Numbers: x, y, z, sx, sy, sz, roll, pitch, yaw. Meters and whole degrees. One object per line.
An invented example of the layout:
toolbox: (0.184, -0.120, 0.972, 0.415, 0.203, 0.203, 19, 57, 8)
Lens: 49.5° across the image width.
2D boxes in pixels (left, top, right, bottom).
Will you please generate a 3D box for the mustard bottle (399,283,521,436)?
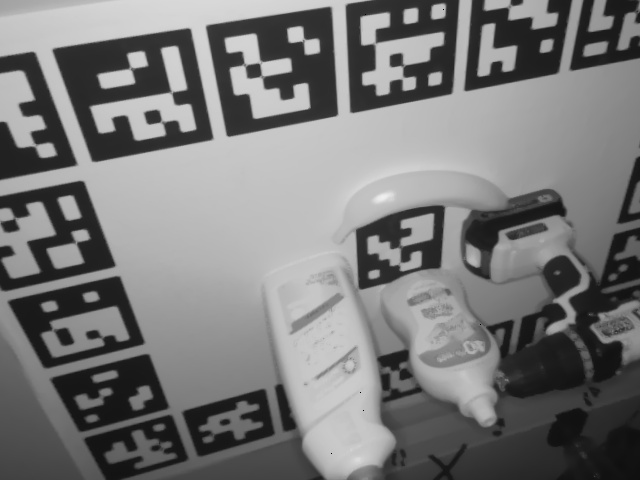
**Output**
mustard bottle: (0.155, 0.125, 0.726, 0.097, 0.192, 0.058, -10, 126, -8)

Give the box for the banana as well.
banana: (0.122, -0.031, 0.702, 0.199, 0.039, 0.073, -10, 121, -13)

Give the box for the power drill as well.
power drill: (0.254, 0.066, 0.694, 0.185, 0.187, 0.057, -13, 133, -6)

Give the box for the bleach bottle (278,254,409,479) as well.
bleach bottle: (0.030, 0.116, 0.653, 0.103, 0.251, 0.067, -18, 126, -4)
